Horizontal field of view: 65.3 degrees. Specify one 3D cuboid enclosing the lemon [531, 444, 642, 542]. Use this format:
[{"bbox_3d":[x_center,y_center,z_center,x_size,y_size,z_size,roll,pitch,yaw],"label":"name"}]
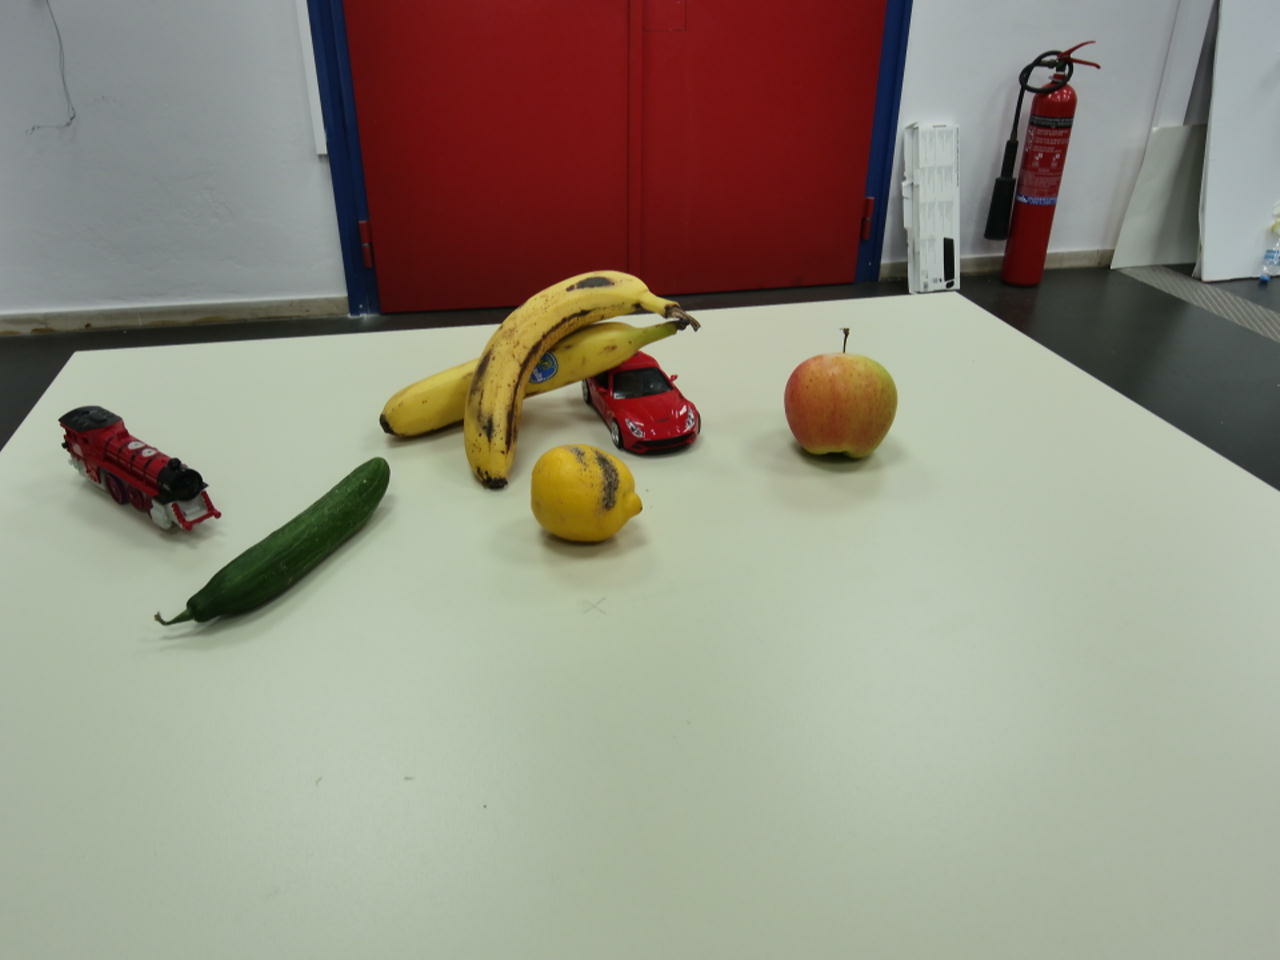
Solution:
[{"bbox_3d":[-0.034,0.008,0.583,0.061,0.056,0.058,-9,28,-18],"label":"lemon"}]
